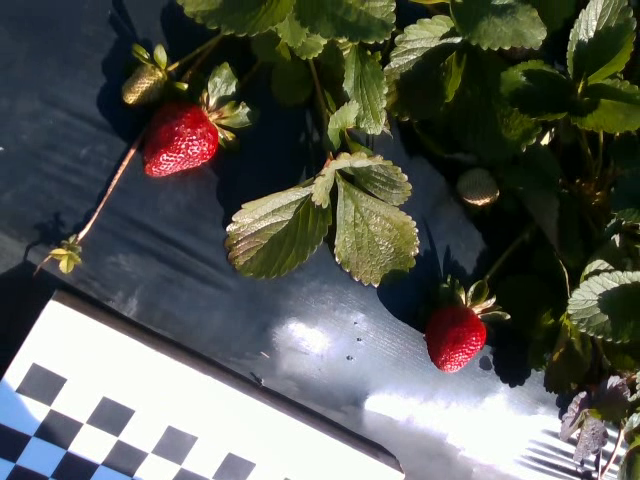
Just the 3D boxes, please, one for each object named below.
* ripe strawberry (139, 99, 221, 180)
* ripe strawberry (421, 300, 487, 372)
[{"bbox_3d":[-0.077,-0.051,0.315,0.041,0.053,0.043,44,-36,-24],"label":"ripe strawberry"},{"bbox_3d":[0.083,0.066,0.375,0.043,0.043,0.050,-2,31,36],"label":"ripe strawberry"}]
